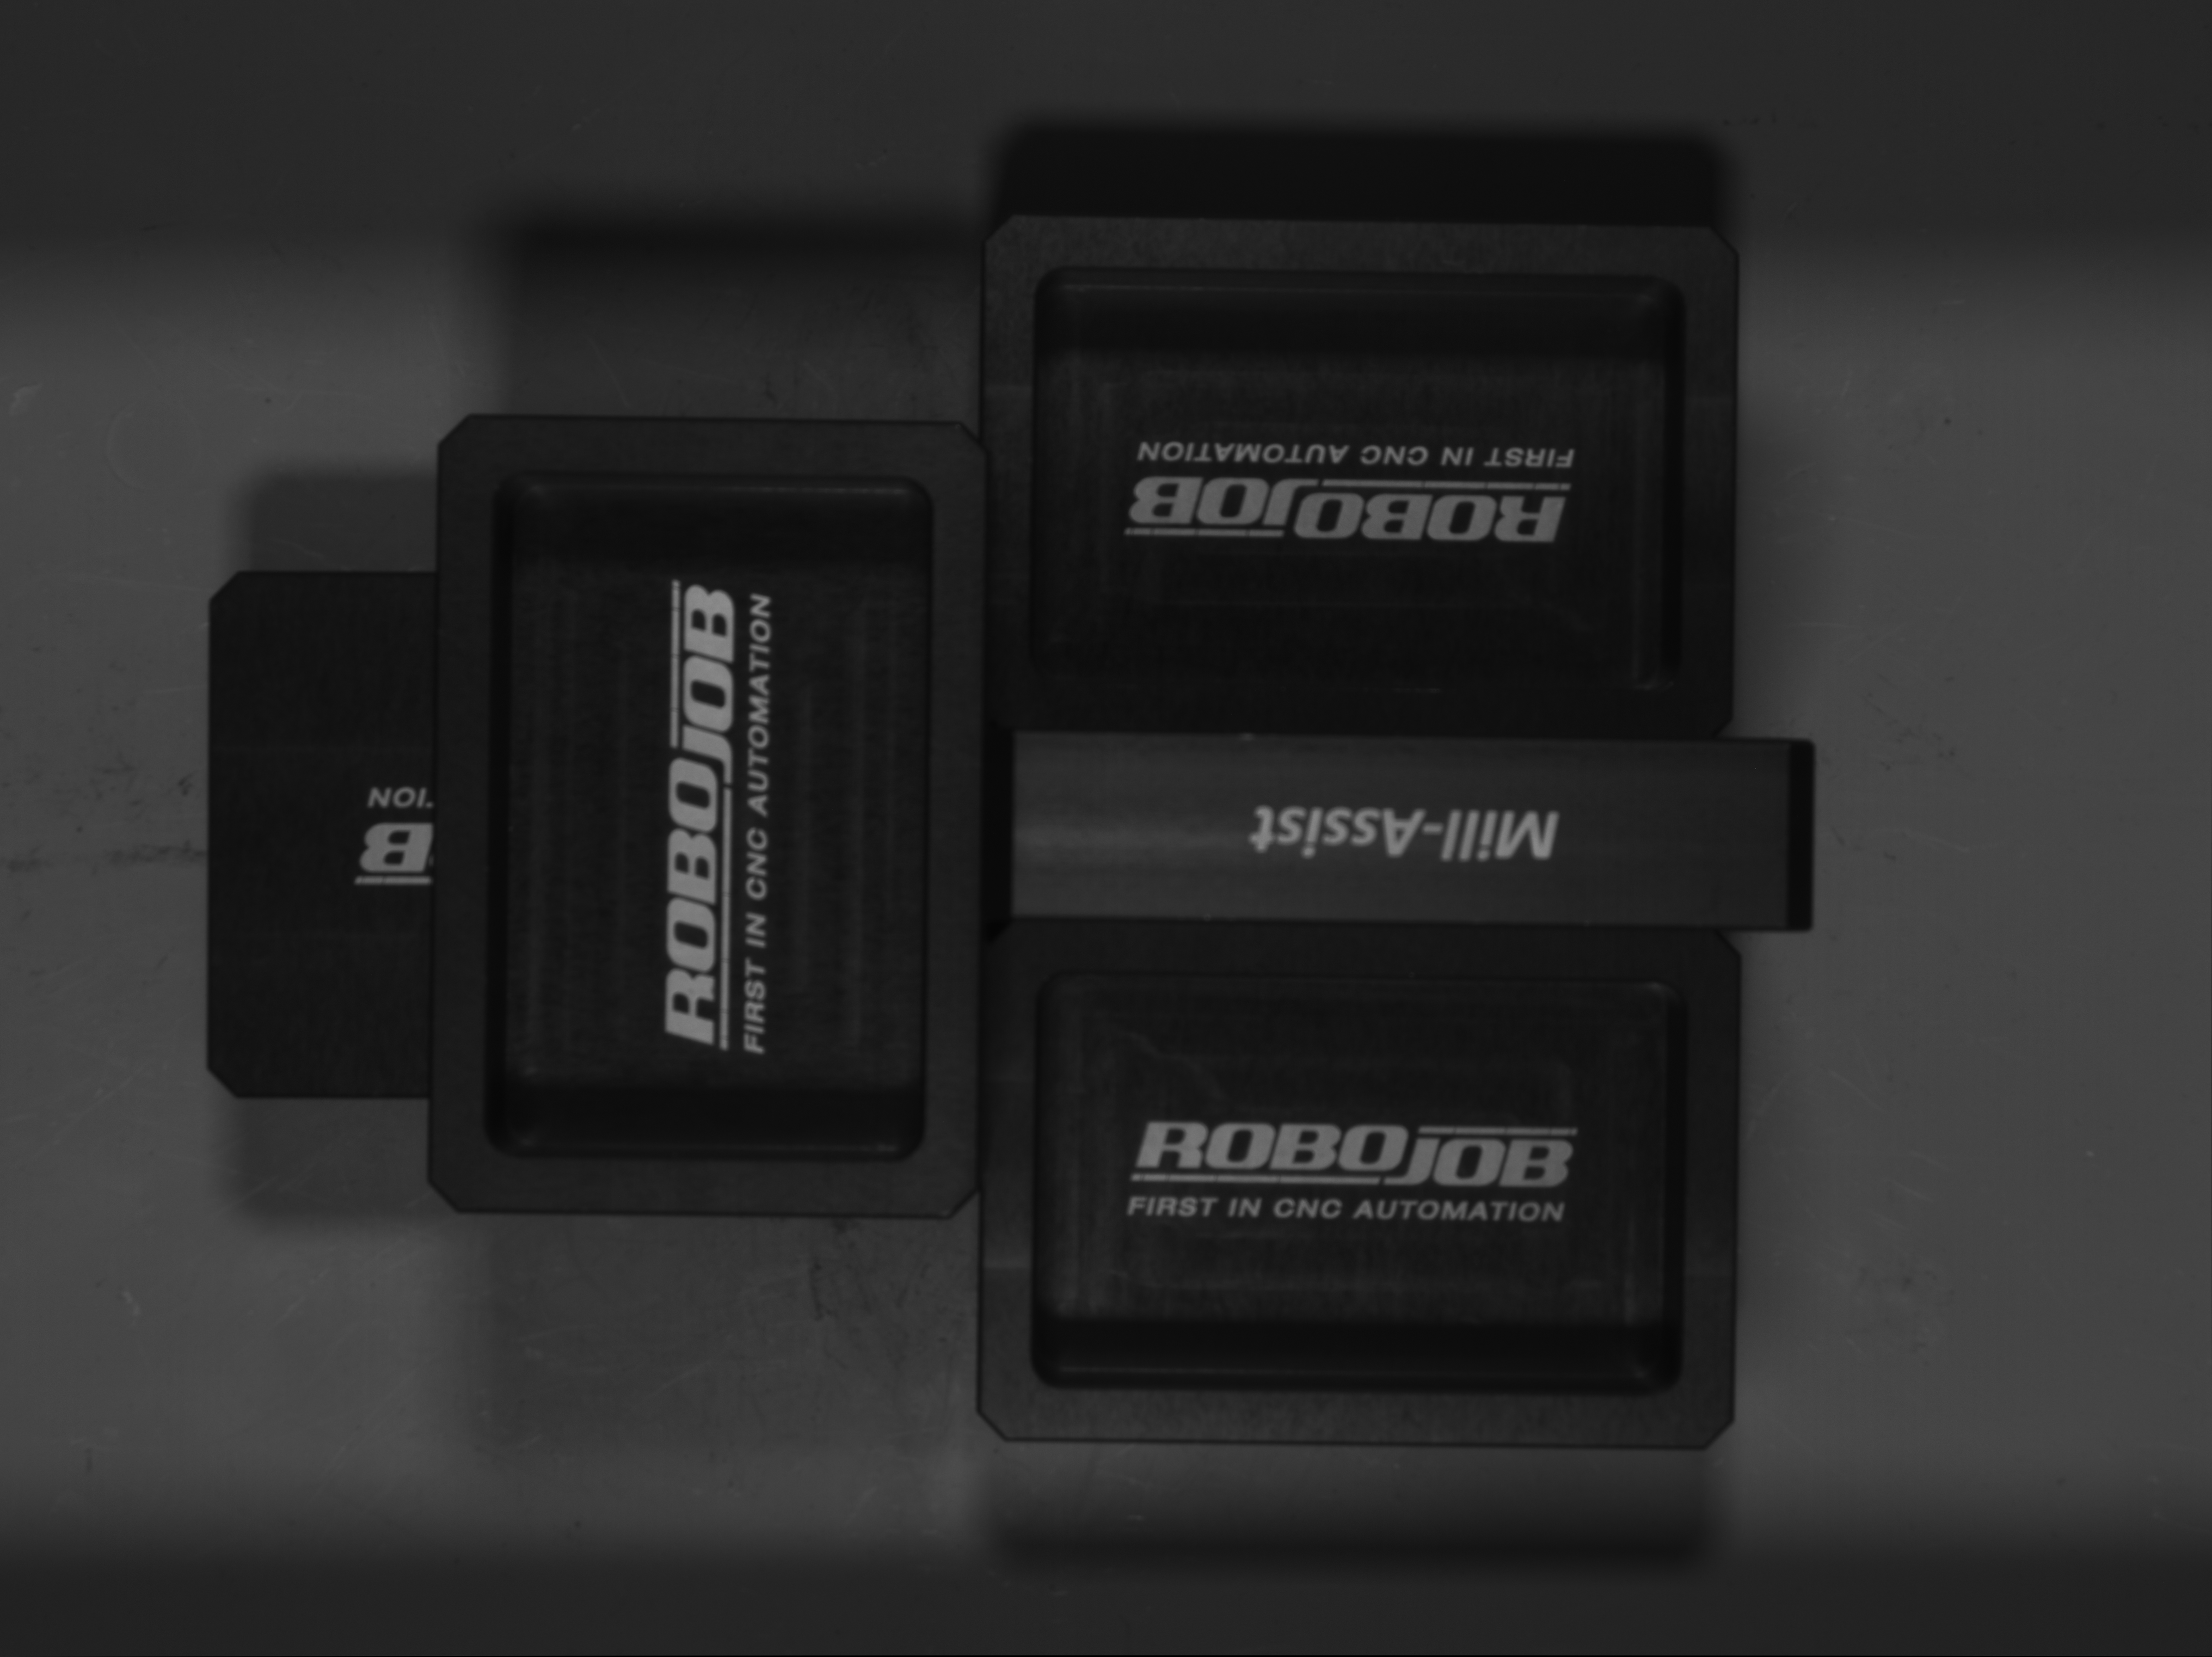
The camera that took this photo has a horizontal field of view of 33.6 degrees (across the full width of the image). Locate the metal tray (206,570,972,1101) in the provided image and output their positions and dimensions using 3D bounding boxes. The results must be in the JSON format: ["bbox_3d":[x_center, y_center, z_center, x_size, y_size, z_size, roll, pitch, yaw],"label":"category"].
[{"bbox_3d":[-0.088,0.001,0.639,0.130,0.030,0.090,0,90,-1],"label":"metal tray"}]

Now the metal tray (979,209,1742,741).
[{"bbox_3d":[0.044,-0.060,0.642,0.130,0.030,0.090,1,90,-1],"label":"metal tray"}]

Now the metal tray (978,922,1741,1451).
[{"bbox_3d":[0.043,0.061,0.642,0.130,0.030,0.090,1,90,-1],"label":"metal tray"}]

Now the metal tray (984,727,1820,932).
[{"bbox_3d":[0.046,0.000,0.611,0.130,0.090,0.030,1,90,0],"label":"metal tray"}]

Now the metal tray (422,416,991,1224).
[{"bbox_3d":[-0.065,-0.001,0.610,0.090,0.030,0.130,1,90,-1],"label":"metal tray"}]
